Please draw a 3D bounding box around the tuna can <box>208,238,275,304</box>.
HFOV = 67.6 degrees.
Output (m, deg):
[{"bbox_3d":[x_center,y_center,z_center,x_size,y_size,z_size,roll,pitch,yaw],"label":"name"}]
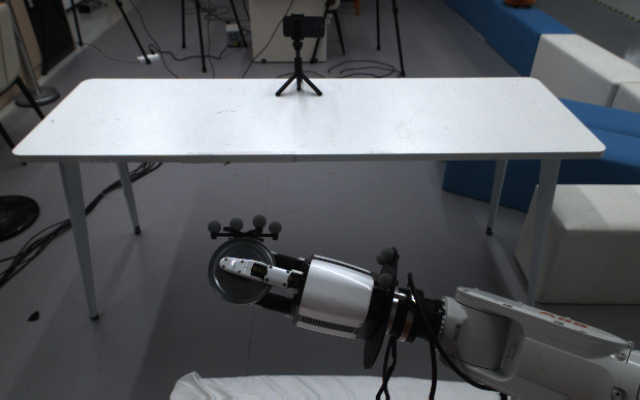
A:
[{"bbox_3d":[-0.097,0.097,0.623,0.085,0.034,0.085,1,73,-5],"label":"tuna can"}]
